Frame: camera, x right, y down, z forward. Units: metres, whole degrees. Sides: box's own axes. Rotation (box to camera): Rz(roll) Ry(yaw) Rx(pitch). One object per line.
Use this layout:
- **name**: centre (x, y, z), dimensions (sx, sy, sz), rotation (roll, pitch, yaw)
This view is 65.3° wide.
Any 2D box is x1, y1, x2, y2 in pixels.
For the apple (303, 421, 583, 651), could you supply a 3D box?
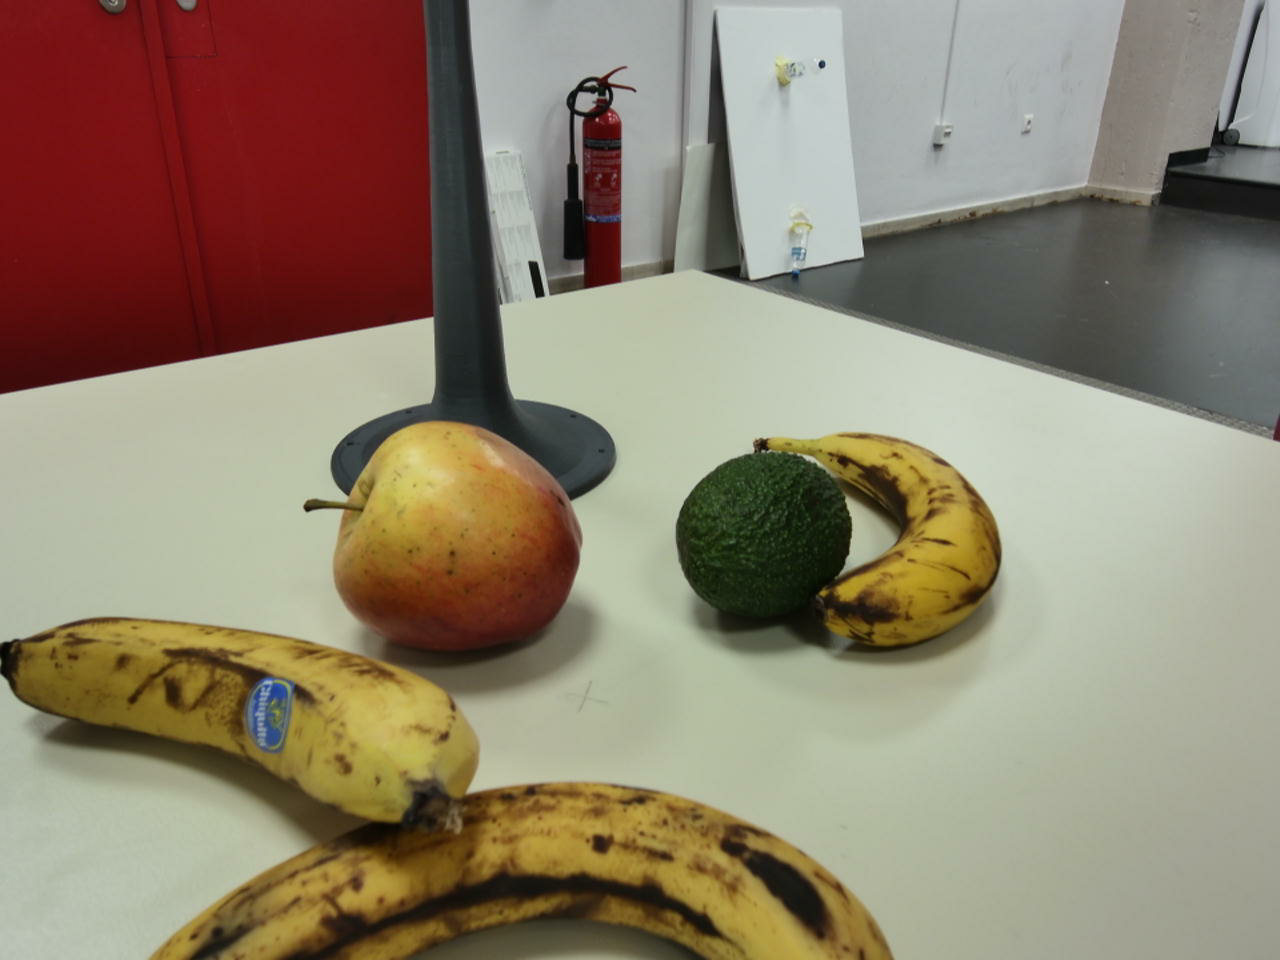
- **apple**: centre (-0.070, 0.021, 0.371), dimensions (0.093, 0.084, 0.086), rotation (7, 24, 14)
